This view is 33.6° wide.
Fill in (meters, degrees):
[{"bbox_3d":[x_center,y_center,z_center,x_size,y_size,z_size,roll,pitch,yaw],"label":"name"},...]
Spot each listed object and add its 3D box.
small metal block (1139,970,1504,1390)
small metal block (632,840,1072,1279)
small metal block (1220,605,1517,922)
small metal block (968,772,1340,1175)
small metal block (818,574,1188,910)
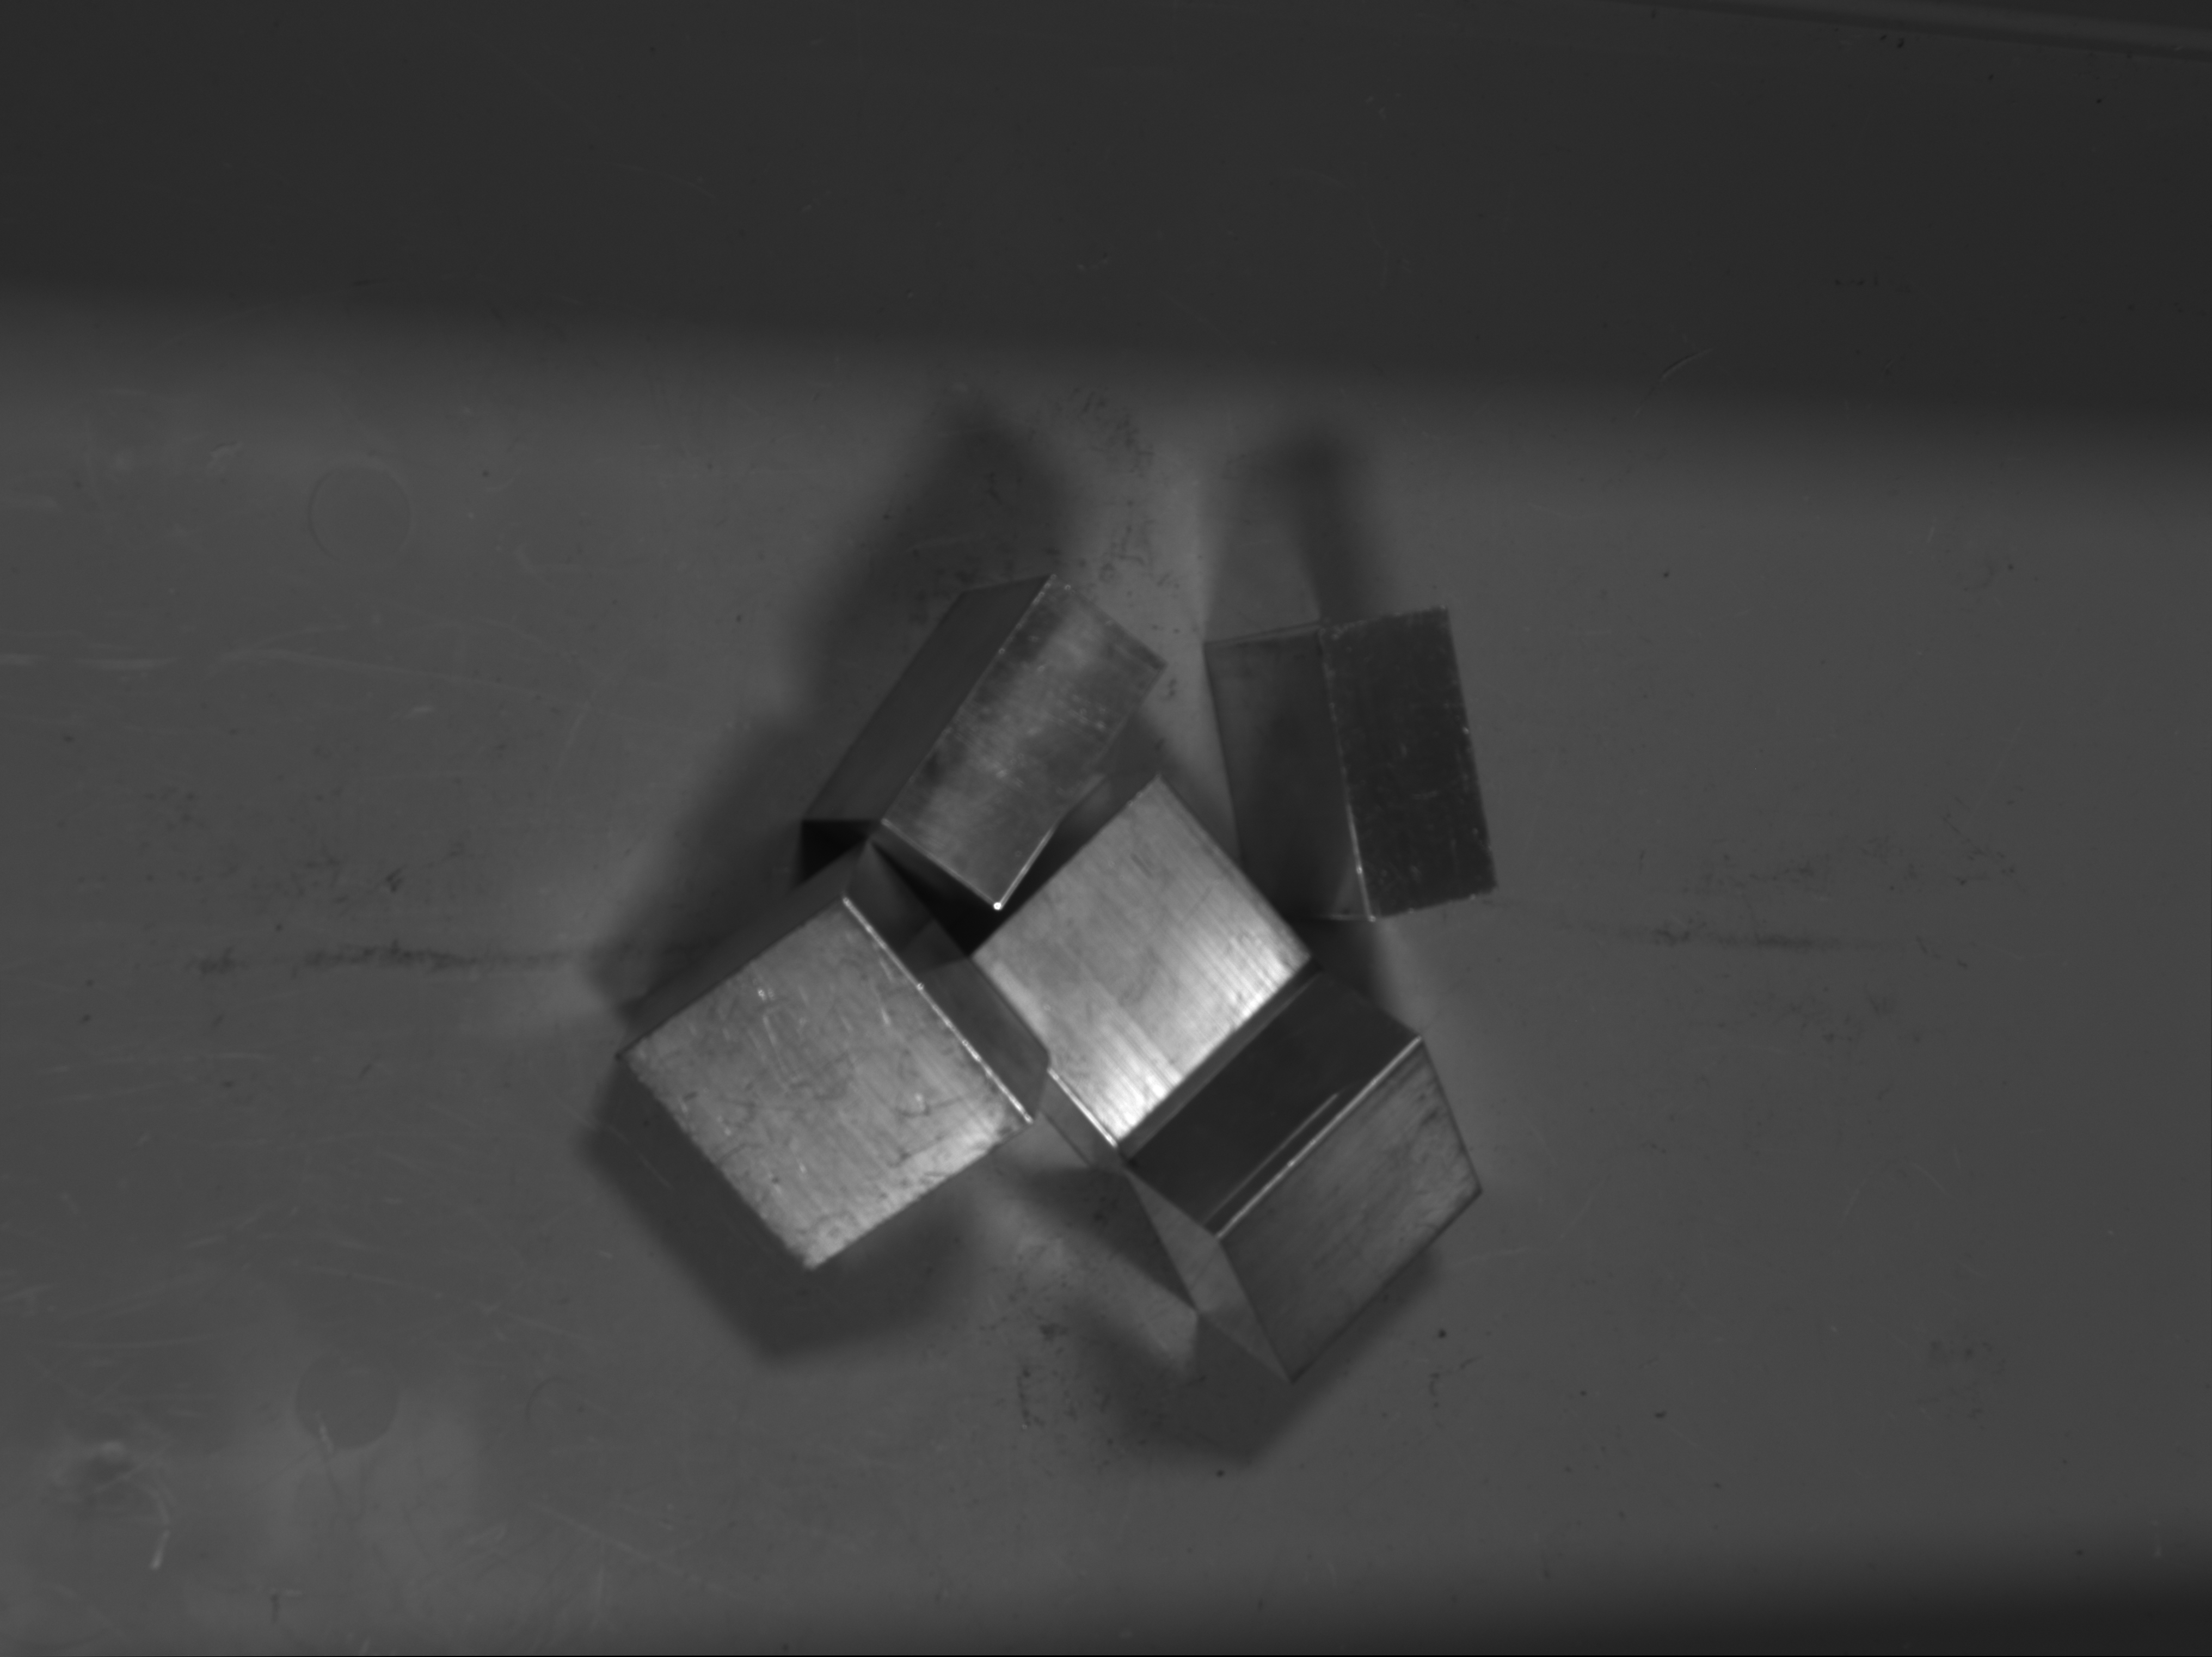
[{"bbox_3d":[0.039,0.062,0.642,0.050,0.025,0.050,-43,140,-15],"label":"small metal block"},{"bbox_3d":[-0.042,0.039,0.615,0.050,0.025,0.050,-35,103,17],"label":"small metal block"},{"bbox_3d":[0.046,-0.011,0.645,0.025,0.050,0.050,-12,94,-20],"label":"small metal block"},{"bbox_3d":[0.006,0.026,0.644,0.050,0.025,0.050,-44,104,-15],"label":"small metal block"},{"bbox_3d":[-0.018,-0.014,0.621,0.025,0.050,0.050,38,78,-15],"label":"small metal block"}]
